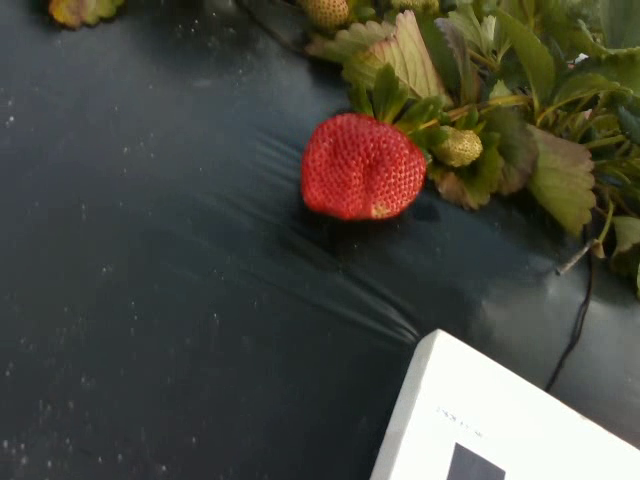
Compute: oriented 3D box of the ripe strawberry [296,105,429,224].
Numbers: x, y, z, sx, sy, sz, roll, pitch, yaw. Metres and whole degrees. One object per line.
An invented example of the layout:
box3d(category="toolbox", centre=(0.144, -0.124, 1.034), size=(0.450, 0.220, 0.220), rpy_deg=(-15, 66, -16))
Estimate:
box3d(category="ripe strawberry", centre=(0.019, -0.035, 0.294), size=(0.067, 0.075, 0.039), rpy_deg=(33, -33, 2))
